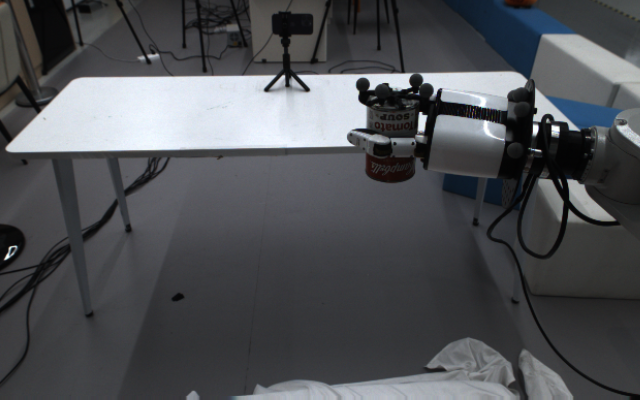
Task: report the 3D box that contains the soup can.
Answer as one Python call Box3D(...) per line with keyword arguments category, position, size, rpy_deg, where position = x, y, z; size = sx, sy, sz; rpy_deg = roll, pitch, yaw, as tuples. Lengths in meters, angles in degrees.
Box3D(category="soup can", position=(0.095, -0.082, 0.630), size=(0.067, 0.101, 0.067), rpy_deg=(-2, 32, 1))
